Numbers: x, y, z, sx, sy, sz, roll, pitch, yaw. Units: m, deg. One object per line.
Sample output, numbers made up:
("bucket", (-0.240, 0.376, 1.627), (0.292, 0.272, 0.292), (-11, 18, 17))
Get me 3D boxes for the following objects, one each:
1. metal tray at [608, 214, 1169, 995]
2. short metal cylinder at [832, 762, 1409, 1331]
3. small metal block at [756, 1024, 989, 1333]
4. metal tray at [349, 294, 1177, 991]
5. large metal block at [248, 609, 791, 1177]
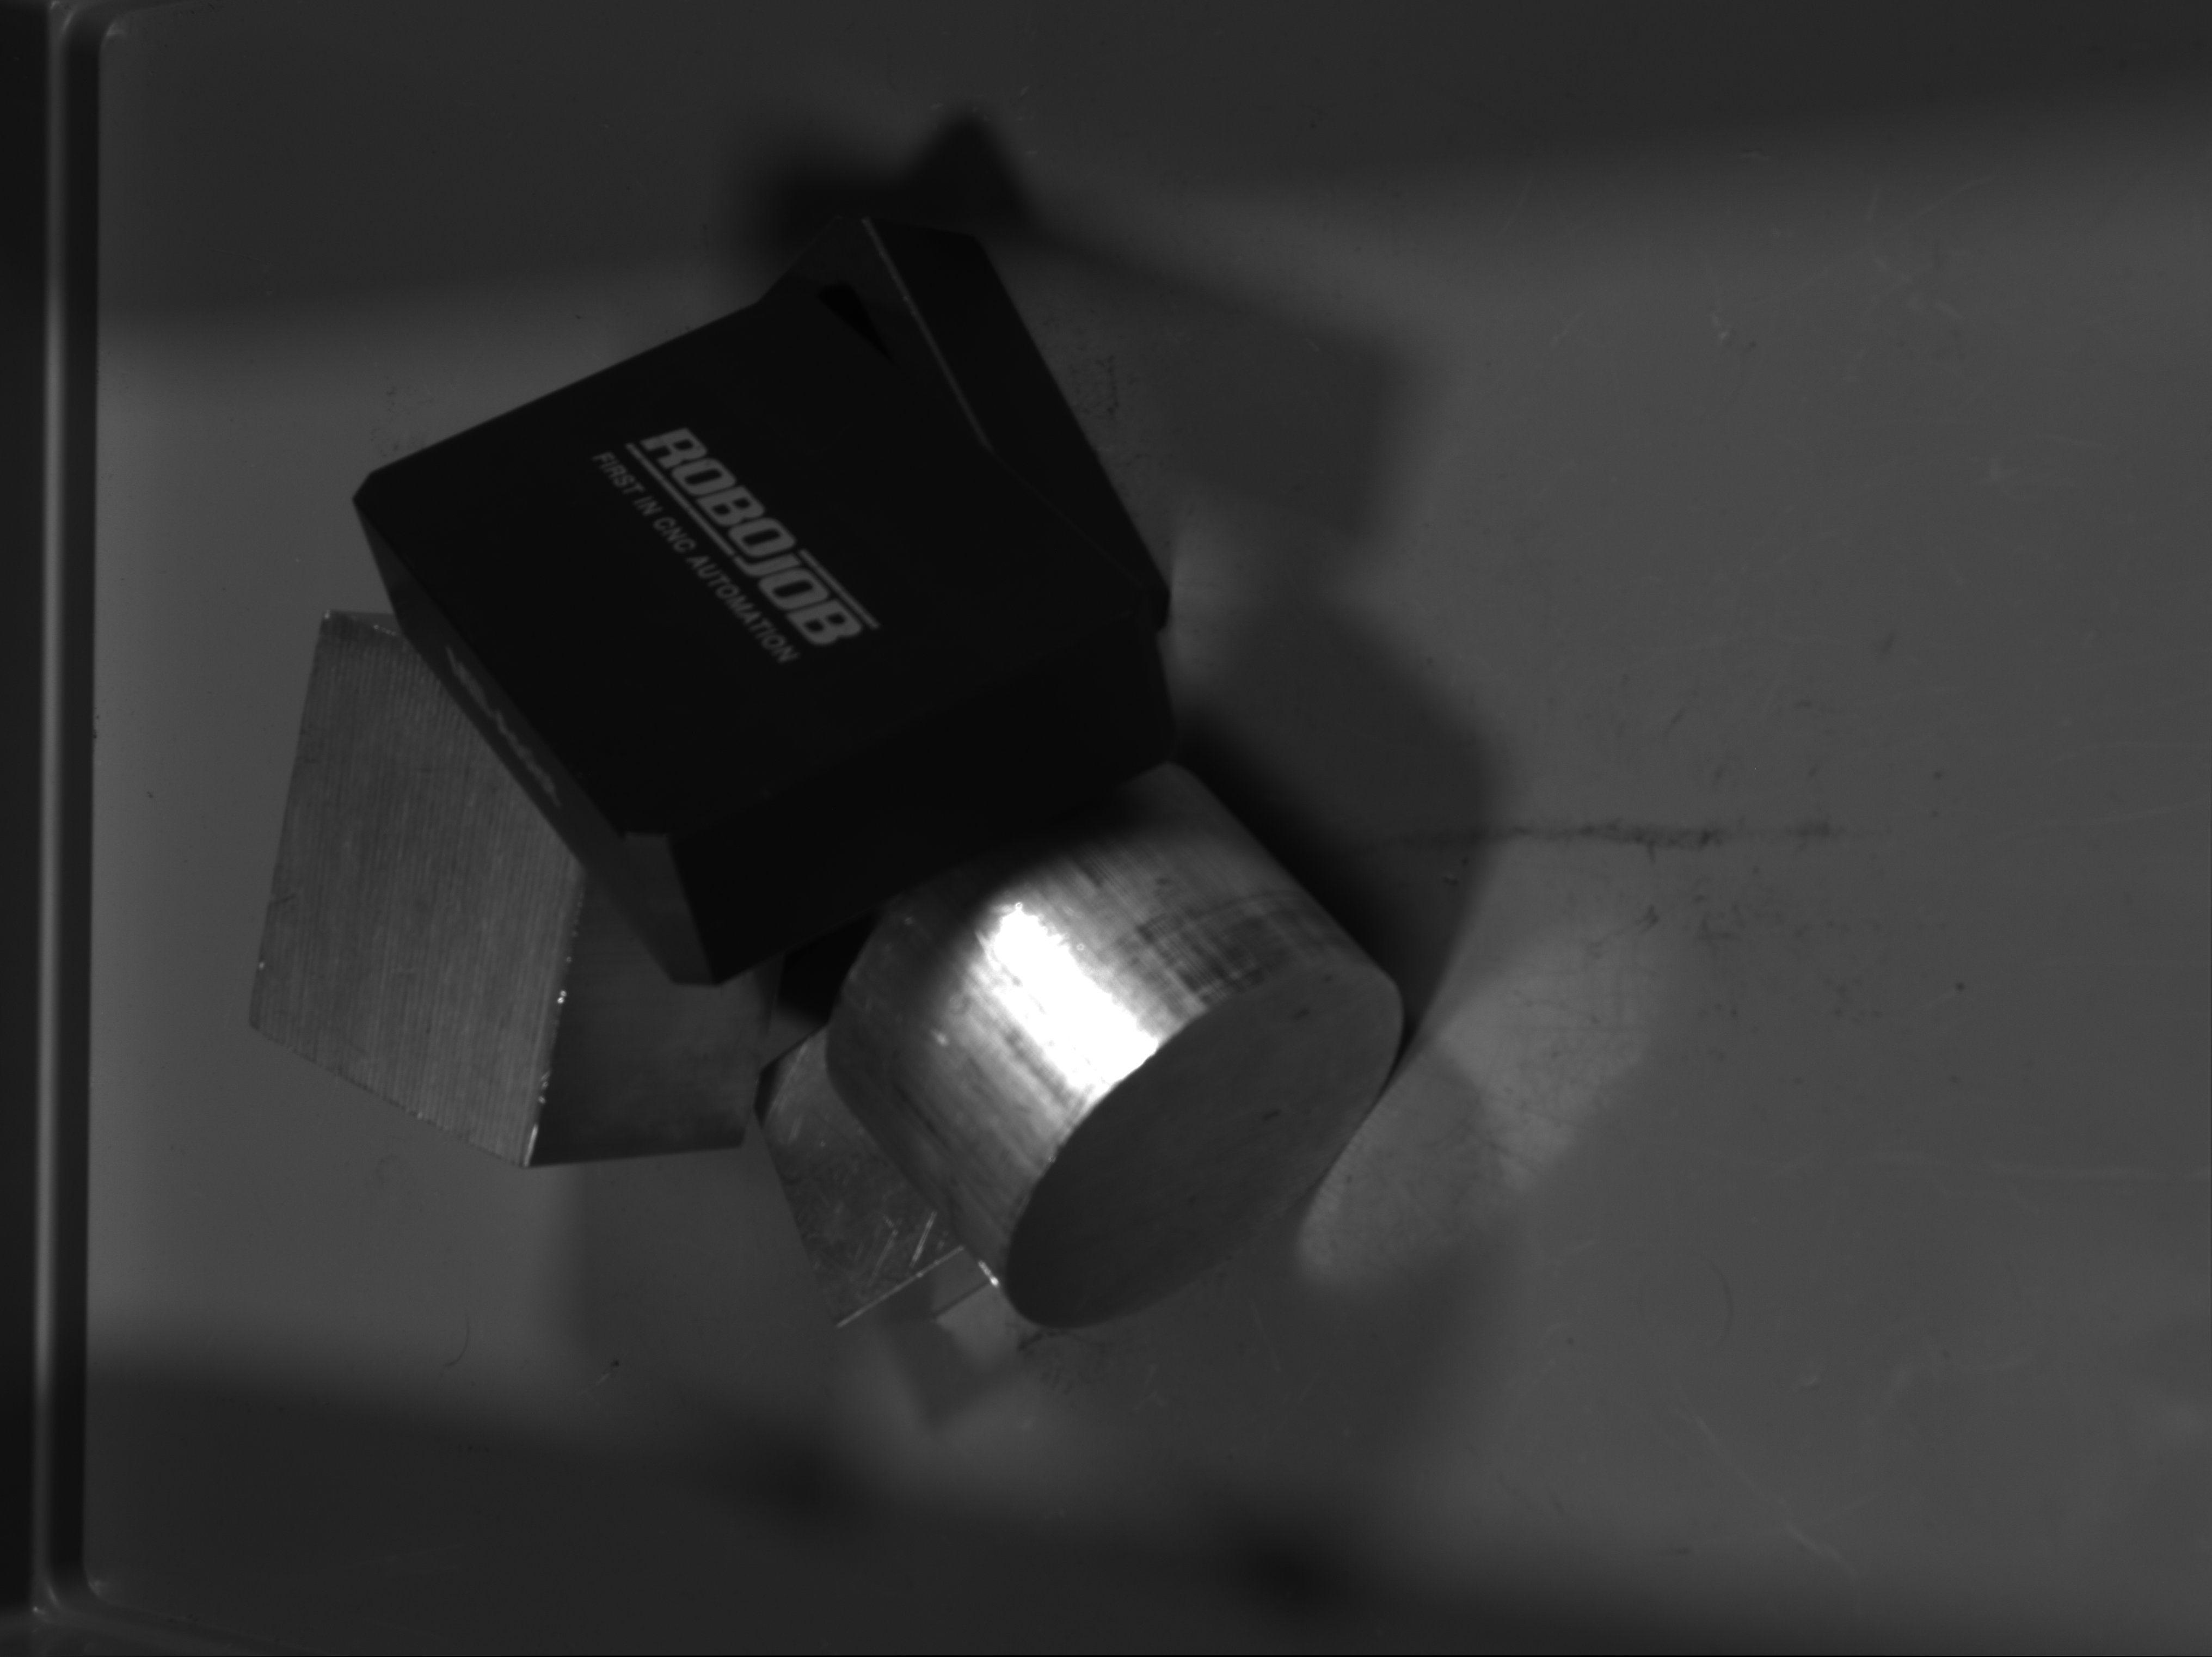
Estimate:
("metal tray", (-0.057, -0.038, 0.678), (0.130, 0.030, 0.090), (-41, 65, 32))
("short metal cylinder", (0.003, 0.035, 0.598), (0.050, 0.080, 0.080), (46, 117, 30))
("small metal block", (-0.032, 0.057, 0.661), (0.050, 0.025, 0.050), (-36, 68, 34))
("metal tray", (-0.059, -0.035, 0.603), (0.130, 0.090, 0.030), (45, 156, 46))
("large metal block", (-0.104, 0.010, 0.662), (0.080, 0.050, 0.080), (21, 103, 38))
